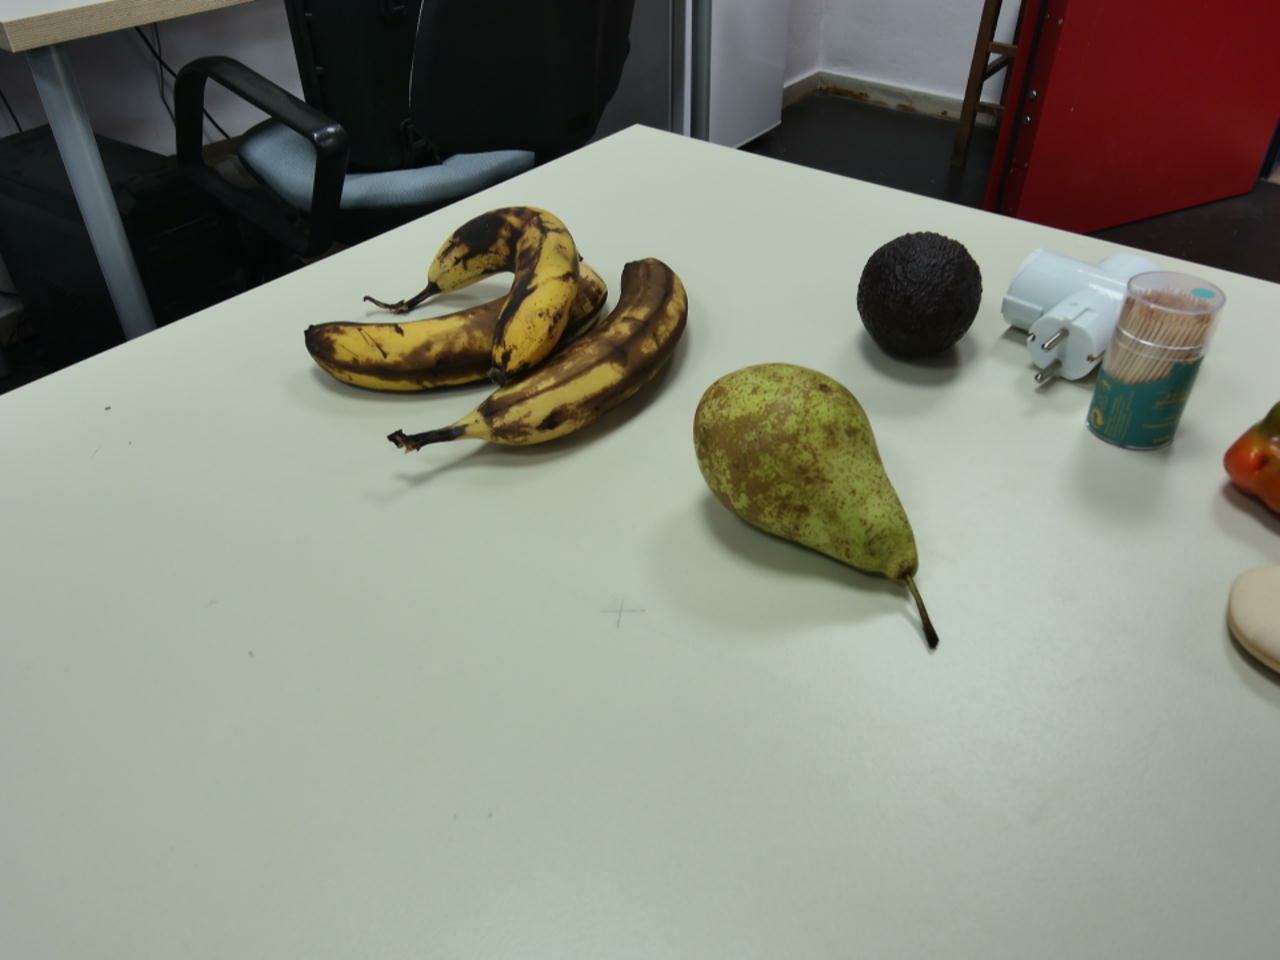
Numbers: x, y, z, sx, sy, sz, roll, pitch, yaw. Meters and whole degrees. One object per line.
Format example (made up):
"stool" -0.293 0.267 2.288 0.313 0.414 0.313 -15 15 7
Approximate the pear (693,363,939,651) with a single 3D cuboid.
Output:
"pear" 0.080 -0.005 0.417 0.128 0.075 0.071 21 41 25
